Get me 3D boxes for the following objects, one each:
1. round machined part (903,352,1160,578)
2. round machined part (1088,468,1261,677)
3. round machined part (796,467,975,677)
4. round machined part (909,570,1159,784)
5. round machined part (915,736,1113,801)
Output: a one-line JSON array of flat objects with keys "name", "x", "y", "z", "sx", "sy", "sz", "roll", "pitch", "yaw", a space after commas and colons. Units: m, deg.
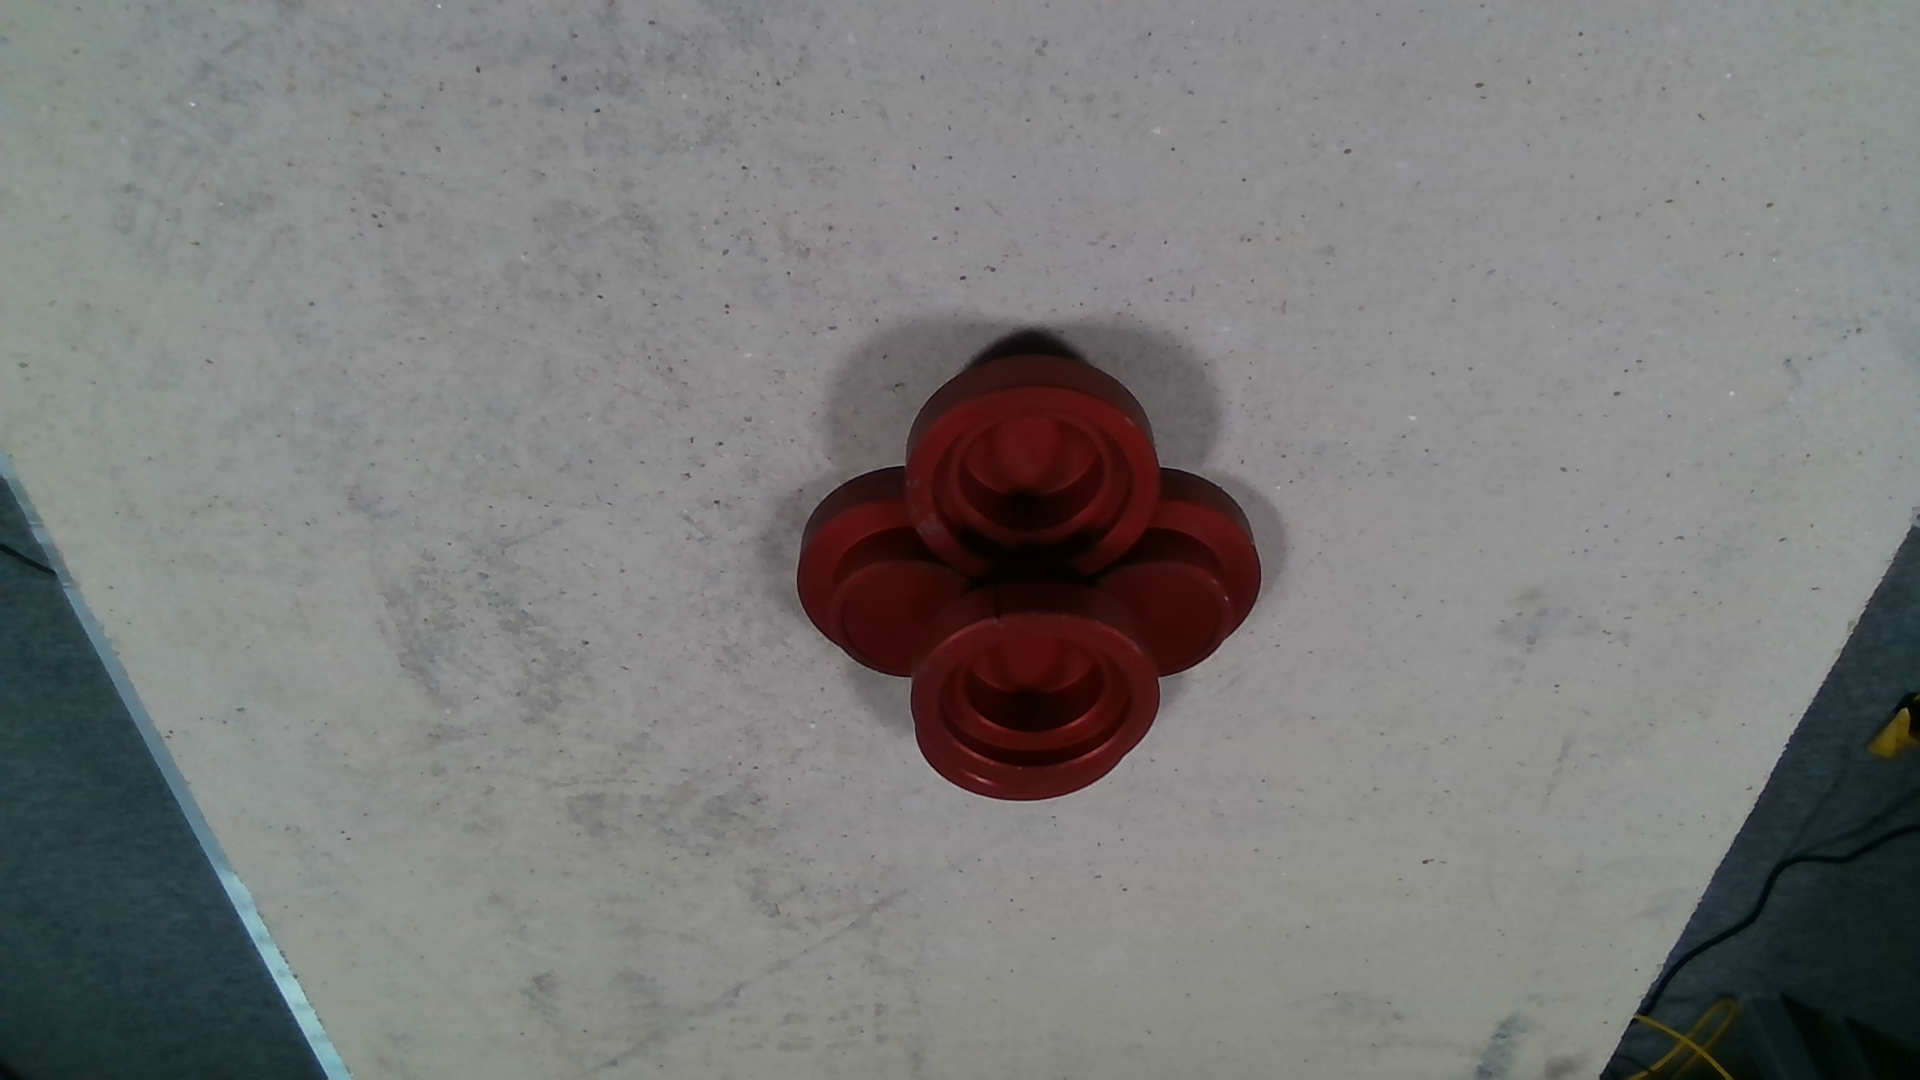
[{"name": "round machined part", "x": 0.027, "y": -0.032, "z": 0.541, "sx": 0.098, "sy": 0.042, "sz": 0.098, "roll": 0, "pitch": 130, "yaw": 0}, {"name": "round machined part", "x": 0.079, "y": 0.020, "z": 0.585, "sx": 0.098, "sy": 0.042, "sz": 0.098, "roll": 0, "pitch": 130, "yaw": 0}, {"name": "round machined part", "x": -0.021, "y": 0.020, "z": 0.585, "sx": 0.098, "sy": 0.042, "sz": 0.098, "roll": 0, "pitch": 130, "yaw": 0}, {"name": "round machined part", "x": 0.029, "y": 0.051, "z": 0.556, "sx": 0.098, "sy": 0.042, "sz": 0.098, "roll": 0, "pitch": 130, "yaw": 0}, {"name": "round machined part", "x": 0.029, "y": 0.072, "z": 0.628, "sx": 0.098, "sy": 0.042, "sz": 0.098, "roll": 0, "pitch": 130, "yaw": 0}]
